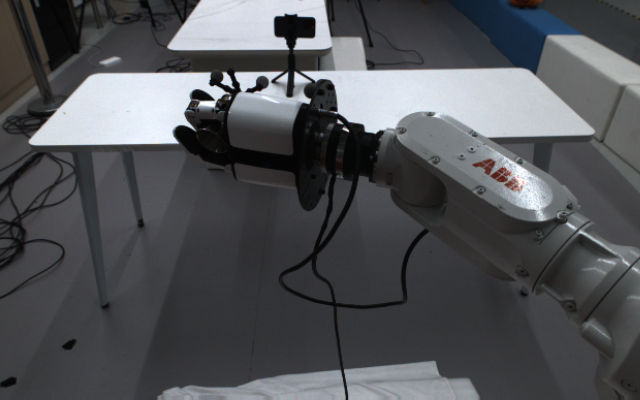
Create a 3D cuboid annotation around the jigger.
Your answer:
[{"bbox_3d":[-0.122,-0.098,0.624,0.043,0.043,0.071,13,58,15],"label":"jigger"}]
